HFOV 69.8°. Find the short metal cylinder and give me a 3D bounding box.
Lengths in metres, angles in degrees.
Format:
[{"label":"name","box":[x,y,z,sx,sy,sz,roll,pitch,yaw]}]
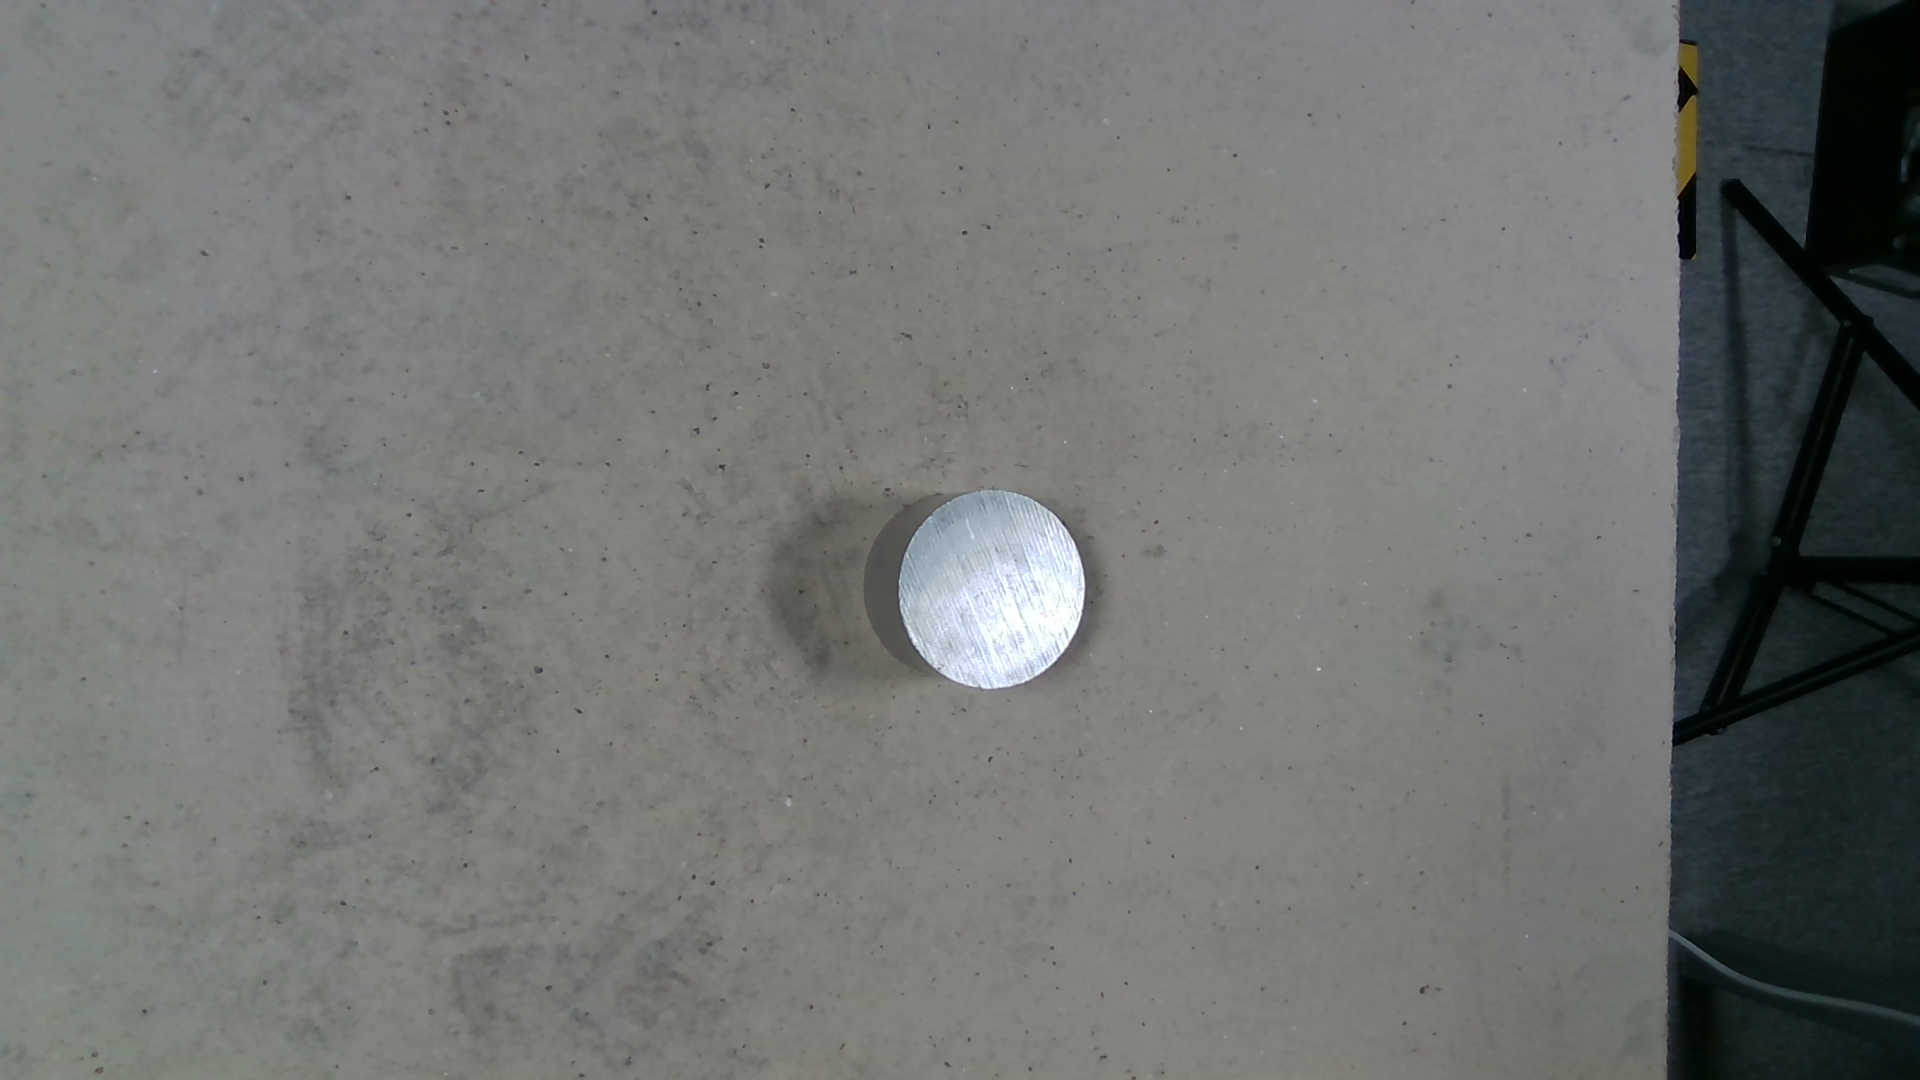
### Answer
[{"label":"short metal cylinder","box":[0.005,0.020,0.575,0.080,0.050,0.080,0,90,-20]}]
